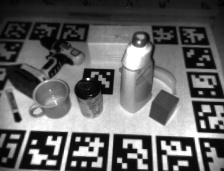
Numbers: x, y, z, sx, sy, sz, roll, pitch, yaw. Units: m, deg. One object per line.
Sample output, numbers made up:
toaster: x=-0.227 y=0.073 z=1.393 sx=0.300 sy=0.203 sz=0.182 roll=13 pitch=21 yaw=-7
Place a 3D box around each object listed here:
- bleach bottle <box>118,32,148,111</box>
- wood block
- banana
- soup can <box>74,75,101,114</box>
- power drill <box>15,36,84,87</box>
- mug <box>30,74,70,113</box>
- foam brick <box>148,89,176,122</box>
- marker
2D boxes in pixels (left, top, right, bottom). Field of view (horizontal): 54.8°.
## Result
bleach bottle: x=0.058 y=-0.038 z=0.549 sx=0.067 sy=0.252 sz=0.103 roll=26 pitch=59 yaw=19
wood block: x=0.025 y=-0.150 z=0.726 sx=0.206 sy=0.091 sz=0.089 roll=1 pitch=56 yaw=1
banana: x=0.102 y=-0.062 z=0.692 sx=0.196 sy=0.039 sz=0.074 roll=16 pitch=71 yaw=8
soup can: x=-0.066 y=0.023 z=0.591 sx=0.068 sy=0.102 sz=0.067 roll=1 pitch=51 yaw=0
power drill: x=-0.213 y=-0.078 z=0.702 sx=0.183 sy=0.057 sz=0.188 roll=28 pitch=59 yaw=15
mug: x=-0.174 y=0.032 z=0.603 sx=0.118 sy=0.082 sz=0.092 roll=-40 pitch=66 yaw=-20
foam brick: x=0.137 y=0.053 z=0.594 sx=0.052 sy=0.078 sz=0.051 roll=30 pitch=59 yaw=23
marker: x=-0.289 y=0.051 z=0.632 sx=0.020 sy=0.020 sz=0.120 roll=-24 pitch=60 yaw=-12
